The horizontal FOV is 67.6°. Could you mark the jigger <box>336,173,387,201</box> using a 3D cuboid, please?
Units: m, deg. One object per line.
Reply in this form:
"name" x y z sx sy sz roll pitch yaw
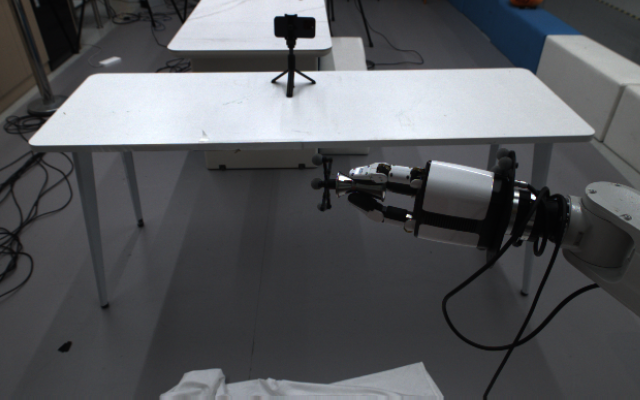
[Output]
"jigger" 0.067 -0.025 0.703 0.071 0.043 0.043 3 34 13
